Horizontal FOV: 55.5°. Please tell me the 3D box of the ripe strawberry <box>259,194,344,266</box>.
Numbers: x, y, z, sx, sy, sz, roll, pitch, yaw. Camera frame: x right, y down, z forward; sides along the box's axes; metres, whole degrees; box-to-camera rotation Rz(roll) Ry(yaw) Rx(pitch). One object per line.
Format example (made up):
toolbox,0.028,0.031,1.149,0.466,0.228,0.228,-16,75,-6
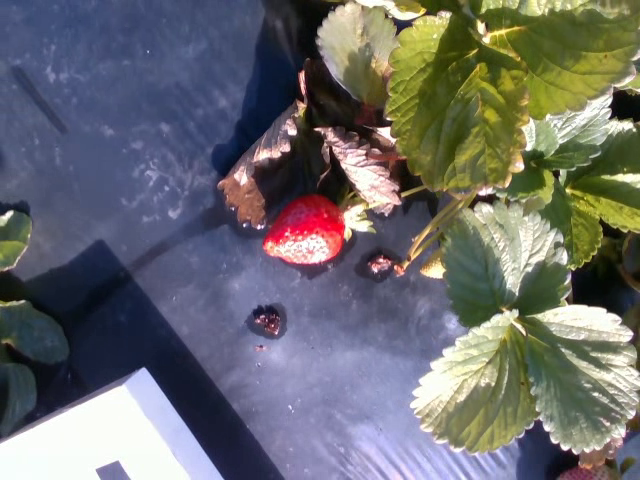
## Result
ripe strawberry,-0.014,0.000,0.276,0.054,0.046,0.038,-20,18,-21
